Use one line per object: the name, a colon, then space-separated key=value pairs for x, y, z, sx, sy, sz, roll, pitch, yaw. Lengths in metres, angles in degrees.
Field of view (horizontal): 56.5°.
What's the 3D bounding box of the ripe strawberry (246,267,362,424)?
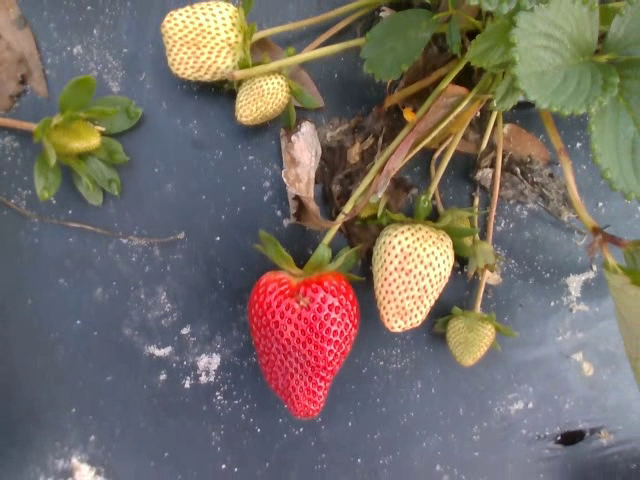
ripe strawberry: x=-0.006 y=0.036 z=0.213 sx=0.050 sy=0.059 sz=0.034 roll=-4 pitch=-13 yaw=-8
